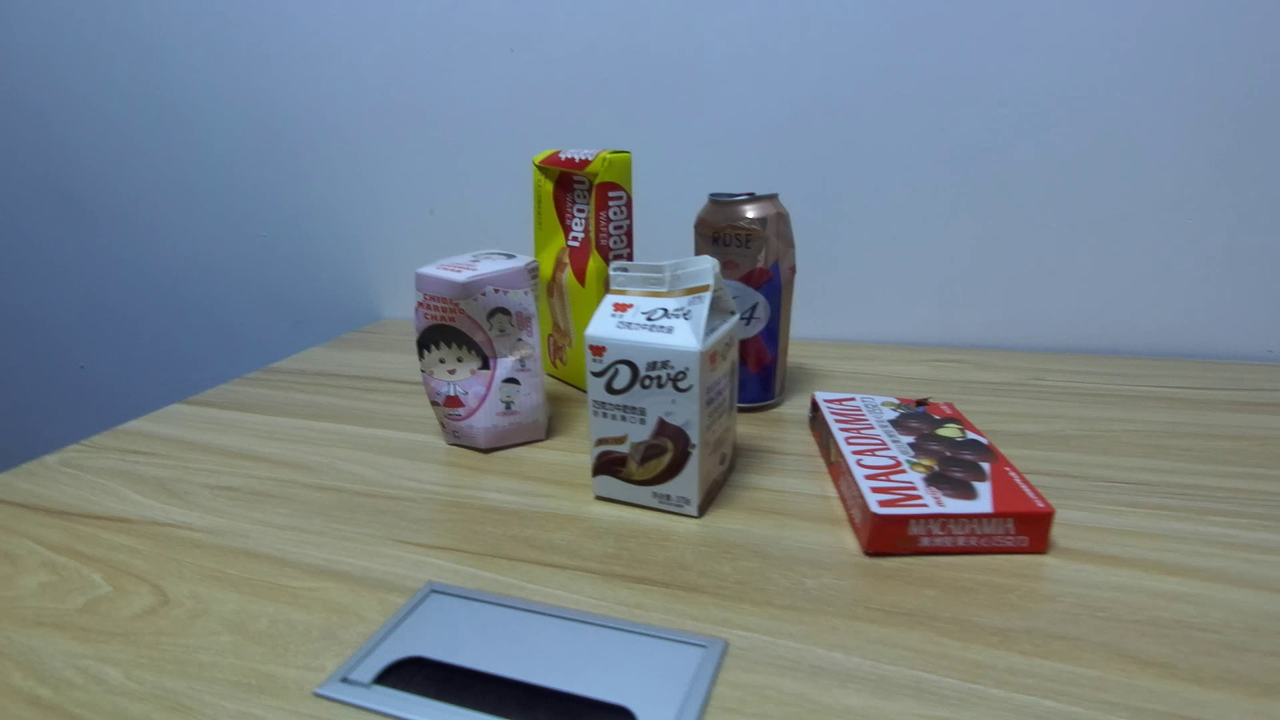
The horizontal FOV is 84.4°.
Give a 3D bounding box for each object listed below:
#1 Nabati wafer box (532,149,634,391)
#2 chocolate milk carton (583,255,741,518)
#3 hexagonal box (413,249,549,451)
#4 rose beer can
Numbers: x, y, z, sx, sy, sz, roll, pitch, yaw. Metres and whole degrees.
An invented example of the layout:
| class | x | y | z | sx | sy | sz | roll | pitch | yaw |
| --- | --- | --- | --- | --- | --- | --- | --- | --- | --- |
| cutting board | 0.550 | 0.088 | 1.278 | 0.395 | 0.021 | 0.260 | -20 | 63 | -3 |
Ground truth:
| class | x | y | z | sx | sy | sz | roll | pitch | yaw |
| --- | --- | --- | --- | --- | --- | --- | --- | --- | --- |
| Nabati wafer box | -0.049 | -0.075 | 0.610 | 0.042 | 0.203 | 0.096 | -15 | 23 | -37 |
| chocolate milk carton | 0.016 | 0.010 | 0.430 | 0.075 | 0.148 | 0.074 | 7 | 21 | 24 |
| hexagonal box | -0.115 | -0.008 | 0.531 | 0.089 | 0.134 | 0.093 | -4 | 20 | -2 |
| rose beer can | 0.083 | -0.047 | 0.556 | 0.065 | 0.167 | 0.075 | -14 | 19 | -33 |
